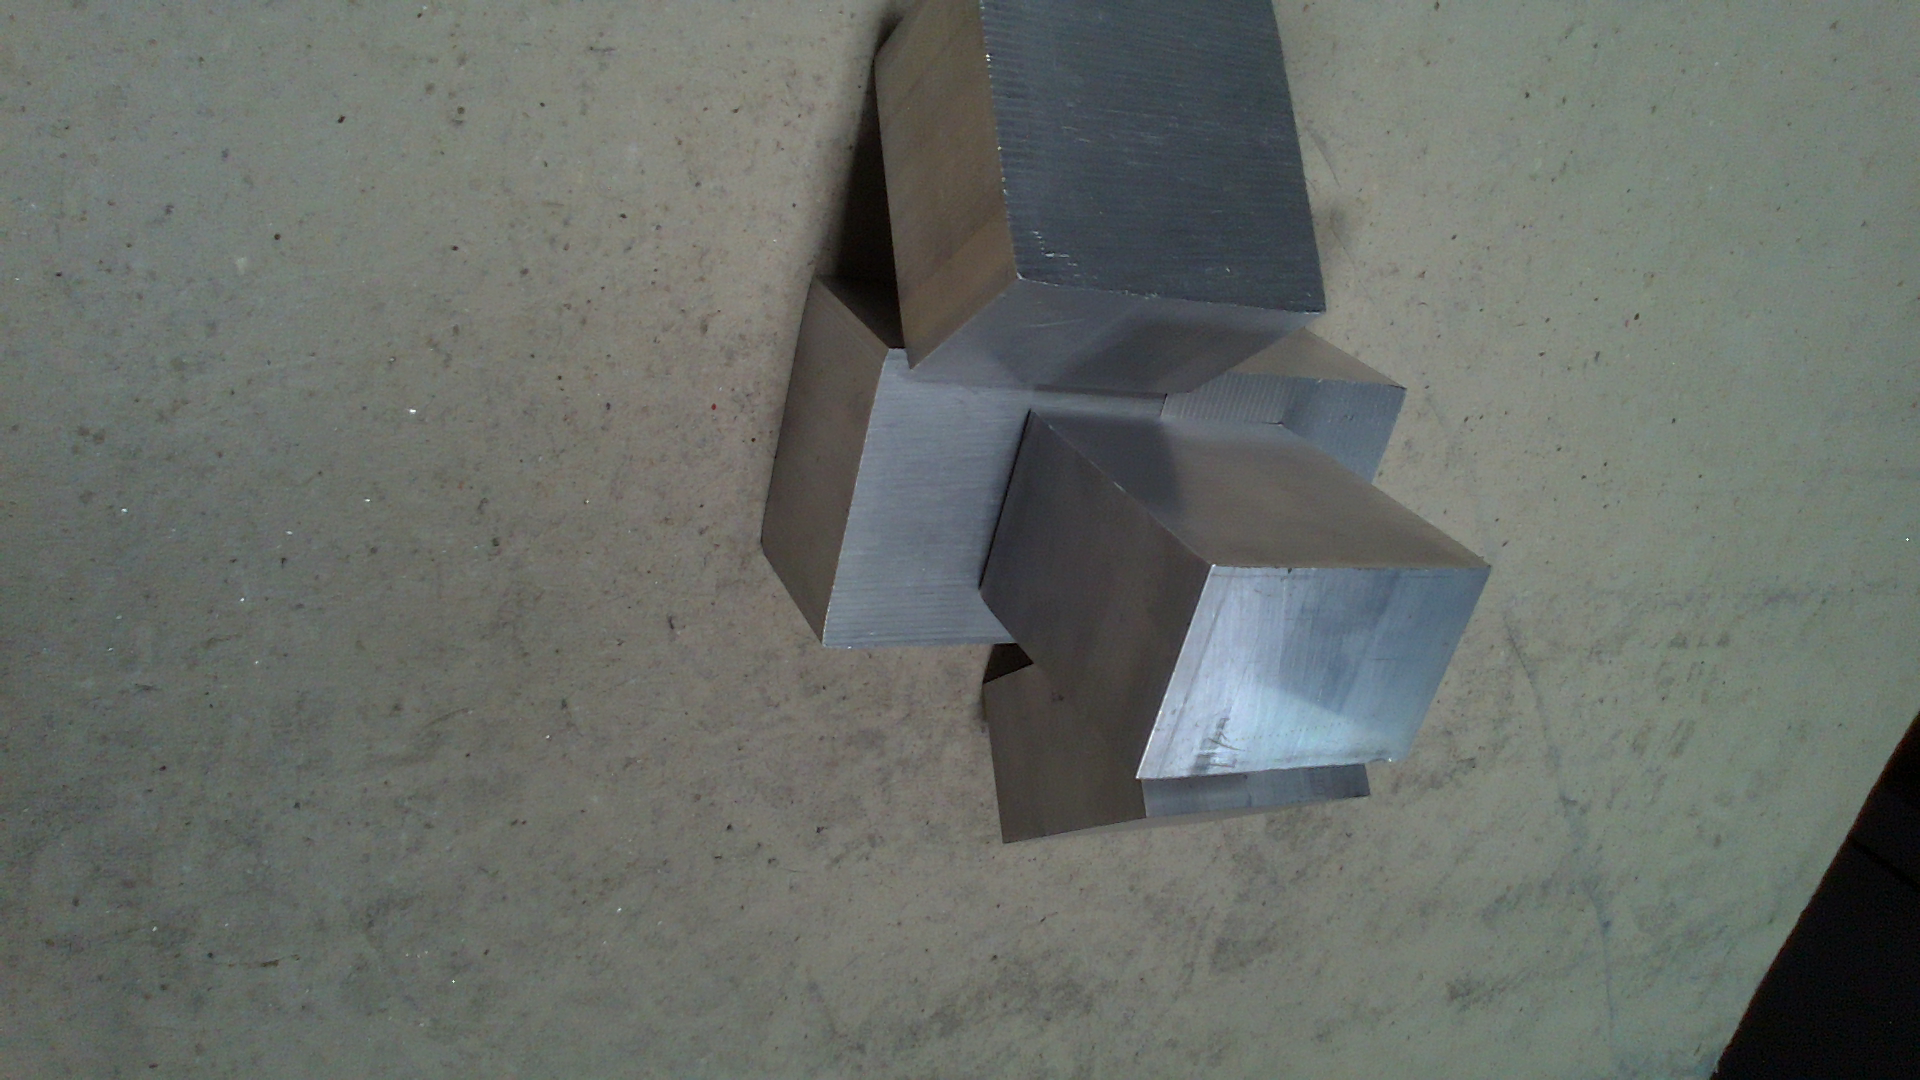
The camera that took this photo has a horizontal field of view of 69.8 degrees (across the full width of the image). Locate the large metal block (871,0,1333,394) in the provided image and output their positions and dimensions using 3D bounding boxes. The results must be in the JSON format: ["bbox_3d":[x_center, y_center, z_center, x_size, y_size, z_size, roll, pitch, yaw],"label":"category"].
[{"bbox_3d":[0.030,-0.082,0.313,0.080,0.050,0.080,1,74,-28],"label":"large metal block"}]

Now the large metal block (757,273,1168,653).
[{"bbox_3d":[-0.001,-0.019,0.359,0.080,0.050,0.080,1,118,-29],"label":"large metal block"}]

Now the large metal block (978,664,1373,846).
[{"bbox_3d":[0.062,0.060,0.416,0.080,0.080,0.050,0,74,-29],"label":"large metal block"}]

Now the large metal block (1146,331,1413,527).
[{"bbox_3d":[0.071,-0.019,0.398,0.080,0.050,0.080,1,118,-29],"label":"large metal block"}]

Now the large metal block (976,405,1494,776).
[{"bbox_3d":[0.062,0.009,0.329,0.080,0.080,0.050,1,118,-29],"label":"large metal block"}]
